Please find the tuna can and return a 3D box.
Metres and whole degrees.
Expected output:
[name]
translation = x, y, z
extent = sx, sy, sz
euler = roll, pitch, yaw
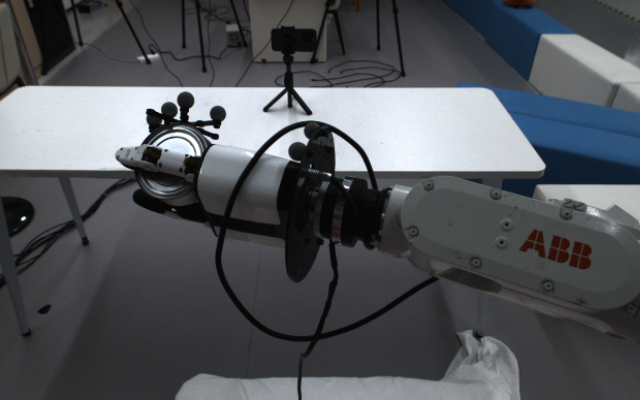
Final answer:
[tuna can]
translation = -0.153, -0.037, 0.523
extent = 0.085, 0.034, 0.085
euler = -5, 70, 14
